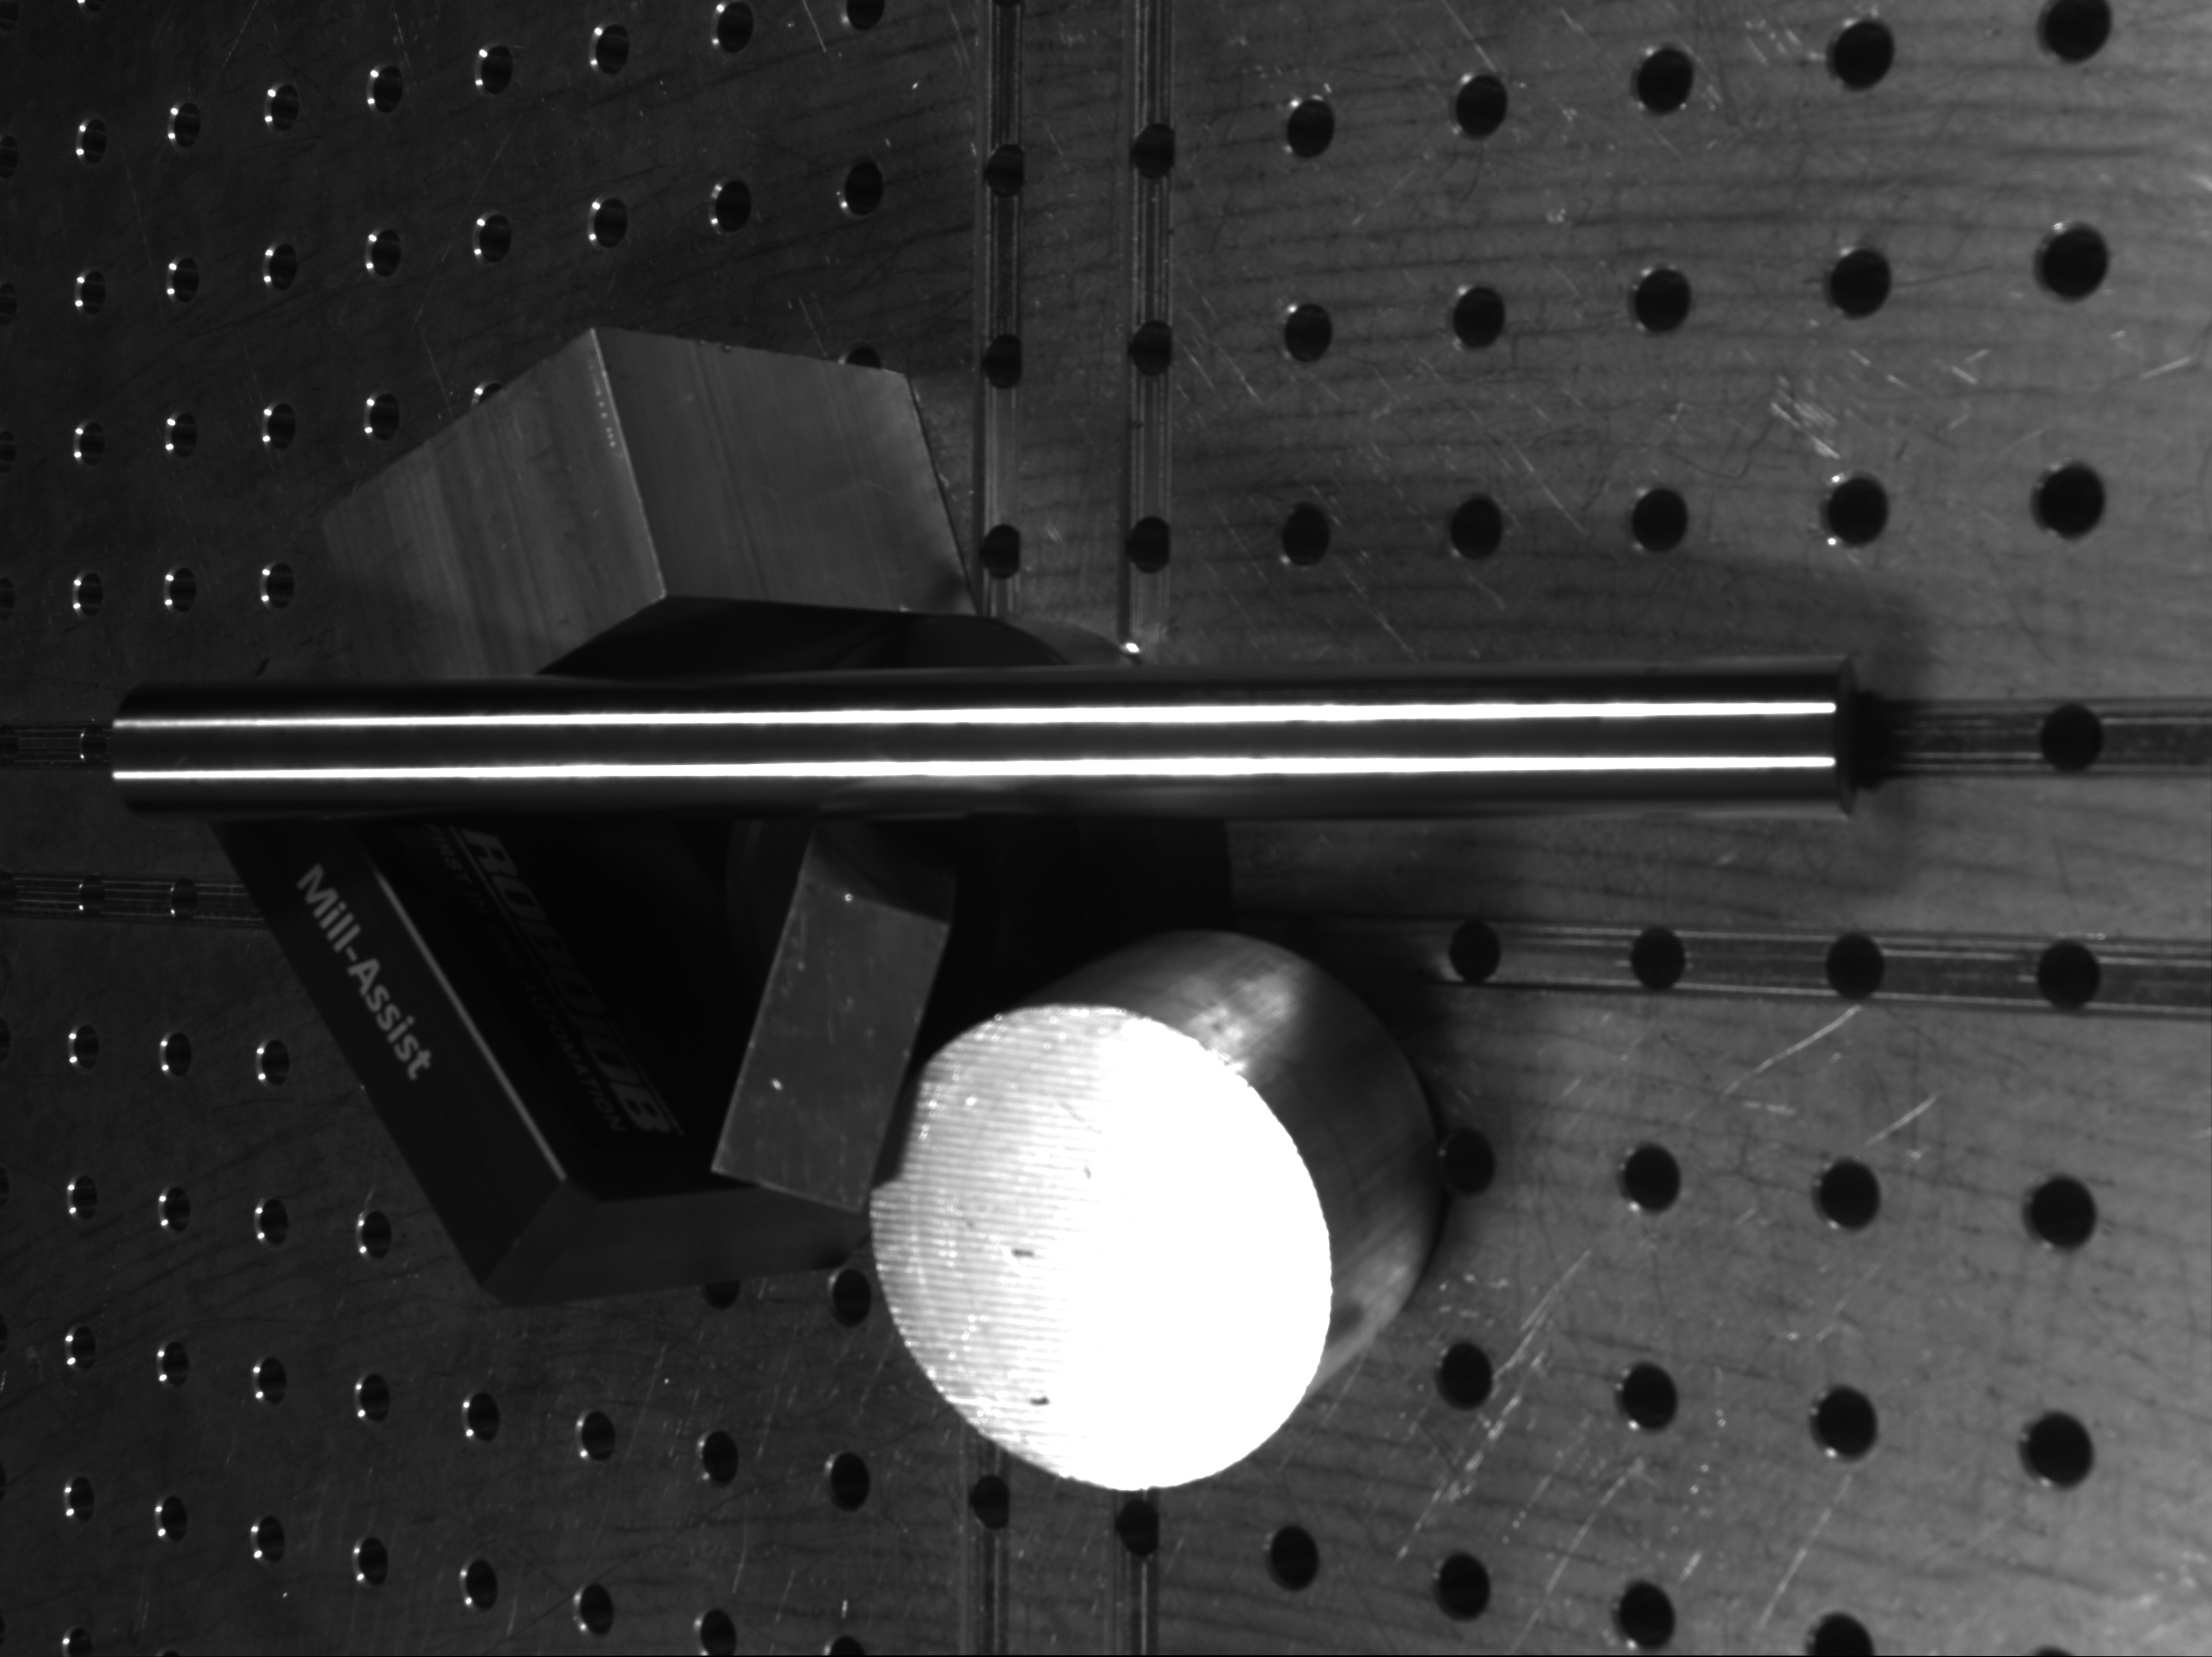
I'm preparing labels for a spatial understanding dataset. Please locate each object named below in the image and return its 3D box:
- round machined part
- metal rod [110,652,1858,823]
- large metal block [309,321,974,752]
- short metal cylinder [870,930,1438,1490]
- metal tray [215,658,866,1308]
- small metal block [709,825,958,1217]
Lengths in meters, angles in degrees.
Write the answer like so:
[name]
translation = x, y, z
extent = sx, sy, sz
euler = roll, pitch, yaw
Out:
[round machined part]
translation = -0.028, 0.011, 0.654
extent = 0.098, 0.042, 0.098
euler = 0, 90, 39
[metal rod]
translation = -0.029, -0.014, 0.602
extent = 0.299, 0.025, 0.025
euler = 0, 90, 20
[large metal block]
translation = -0.085, -0.048, 0.671
extent = 0.080, 0.080, 0.050
euler = -27, 73, 36
[short metal cylinder]
translation = 0.008, 0.061, 0.601
extent = 0.080, 0.050, 0.080
euler = 6, 104, 23
[metal tray]
translation = -0.103, 0.026, 0.680
extent = 0.030, 0.090, 0.130
euler = -51, 61, 27
[small metal block]
translation = -0.044, 0.030, 0.603
extent = 0.025, 0.050, 0.050
euler = 17, 102, -5
